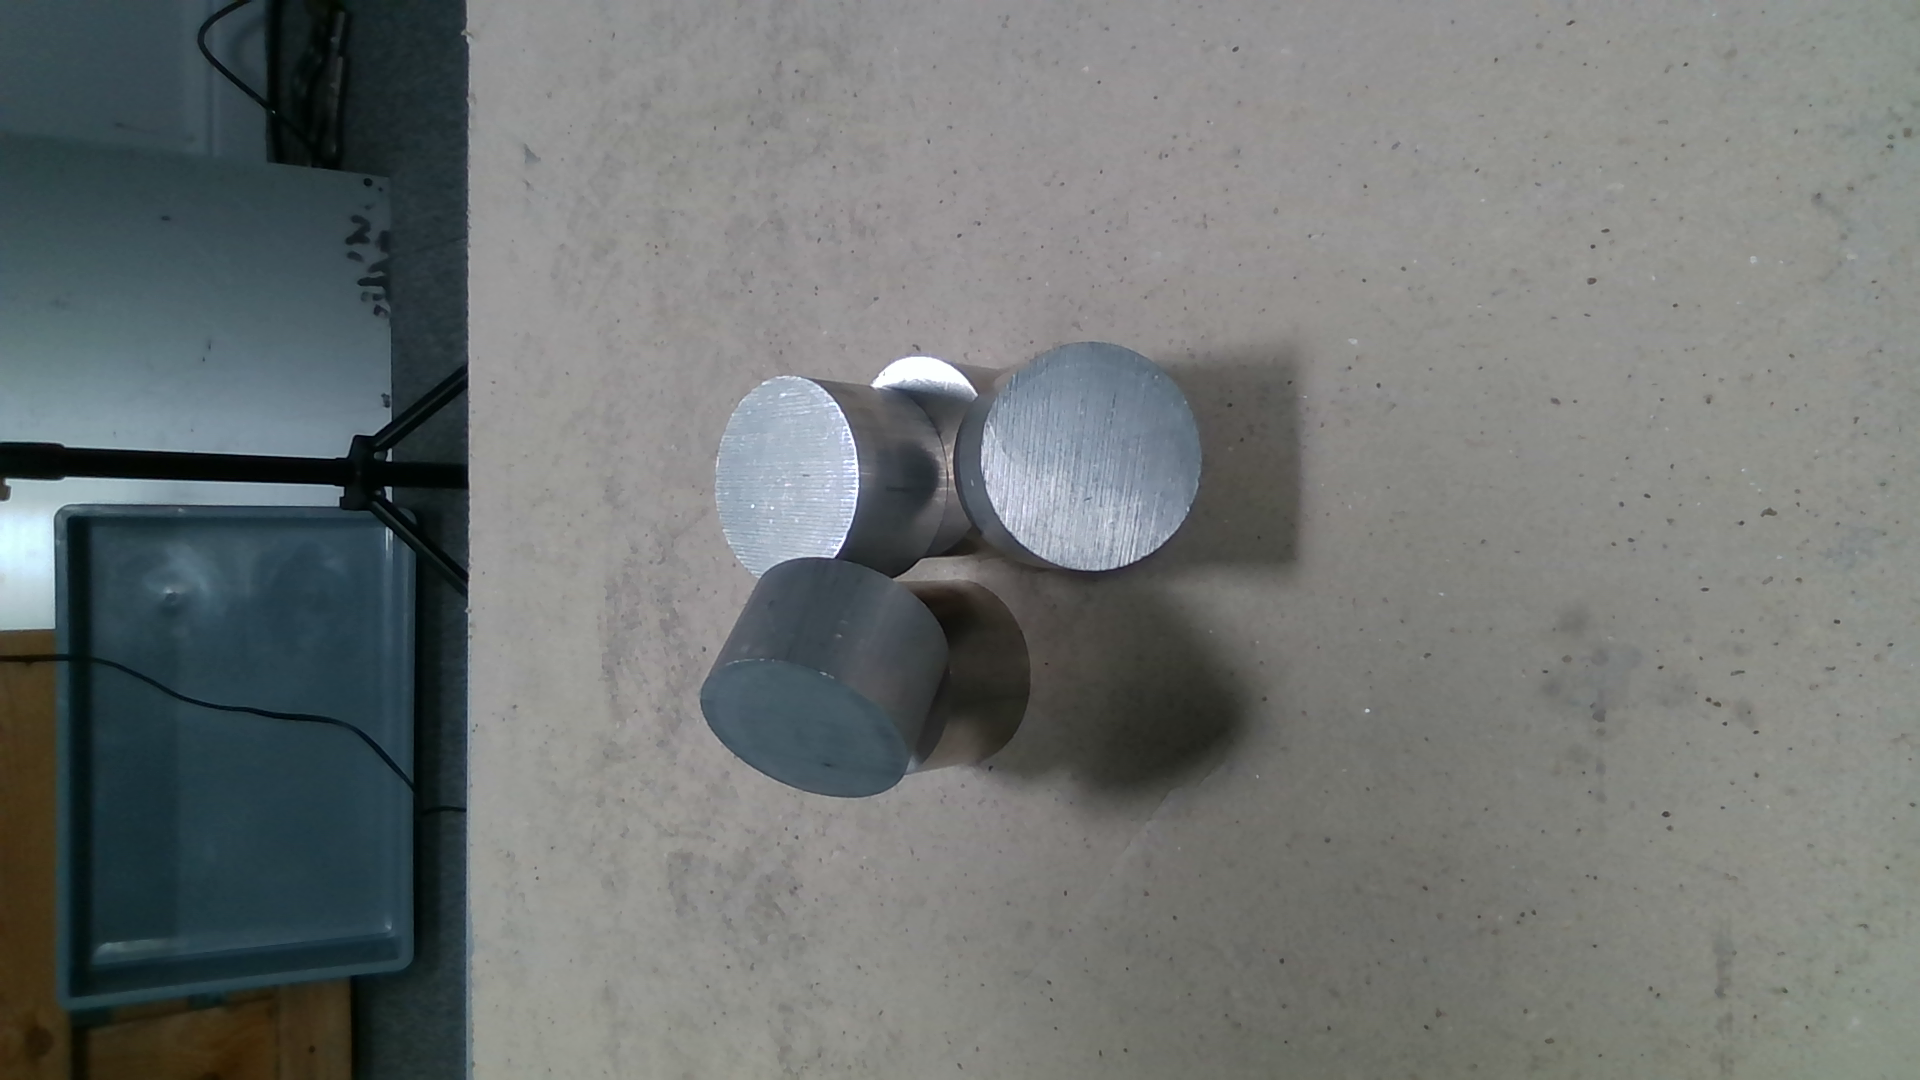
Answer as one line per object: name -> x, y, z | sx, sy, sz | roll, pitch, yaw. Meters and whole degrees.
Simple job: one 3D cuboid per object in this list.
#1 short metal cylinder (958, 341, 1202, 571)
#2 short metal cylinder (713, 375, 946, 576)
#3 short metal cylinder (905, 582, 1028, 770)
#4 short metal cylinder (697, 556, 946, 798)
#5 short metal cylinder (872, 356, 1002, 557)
short metal cylinder -> 0.041, -0.029, 0.503 | 0.050, 0.080, 0.080 | -179, 88, -79
short metal cylinder -> -0.052, -0.023, 0.543 | 0.080, 0.050, 0.080 | 0, 91, 40
short metal cylinder -> -0.018, 0.057, 0.581 | 0.080, 0.050, 0.080 | 0, 91, 40
short metal cylinder -> -0.051, 0.052, 0.515 | 0.080, 0.080, 0.050 | -22, 34, 38
short metal cylinder -> -0.003, -0.033, 0.567 | 0.080, 0.050, 0.080 | 0, 91, 40
